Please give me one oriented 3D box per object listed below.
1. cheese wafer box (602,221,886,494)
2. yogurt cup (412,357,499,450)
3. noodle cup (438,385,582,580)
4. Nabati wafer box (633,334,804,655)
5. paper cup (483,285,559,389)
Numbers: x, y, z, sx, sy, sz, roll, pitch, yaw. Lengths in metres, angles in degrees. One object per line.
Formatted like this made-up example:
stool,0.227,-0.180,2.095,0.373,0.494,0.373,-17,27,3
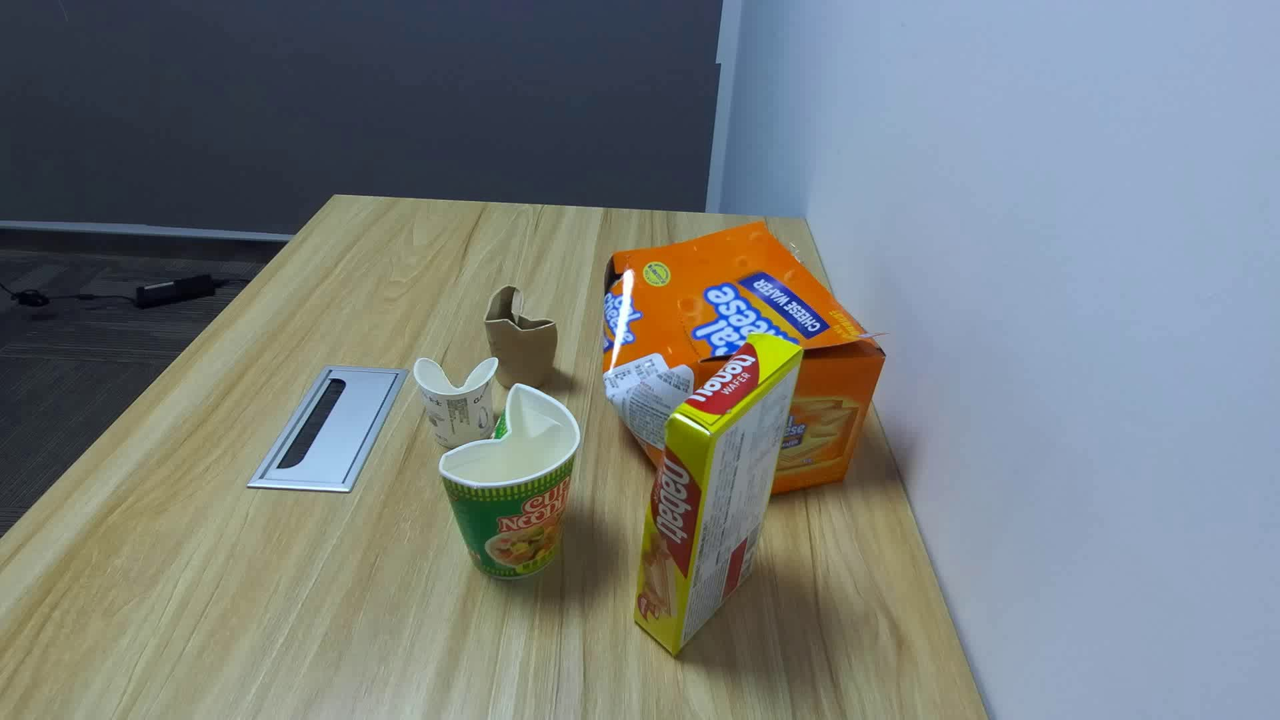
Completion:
cheese wafer box,0.062,-0.006,0.602,0.192,0.145,0.218,-9,38,-17
yogurt cup,-0.151,0.035,0.597,0.067,0.070,0.067,3,36,-2
noodle cup,-0.089,0.092,0.486,0.086,0.109,0.094,32,46,33
Nabati wafer box,0.043,0.084,0.426,0.042,0.203,0.097,31,47,30
paper cup,-0.108,-0.019,0.656,0.058,0.083,0.066,5,38,-3
